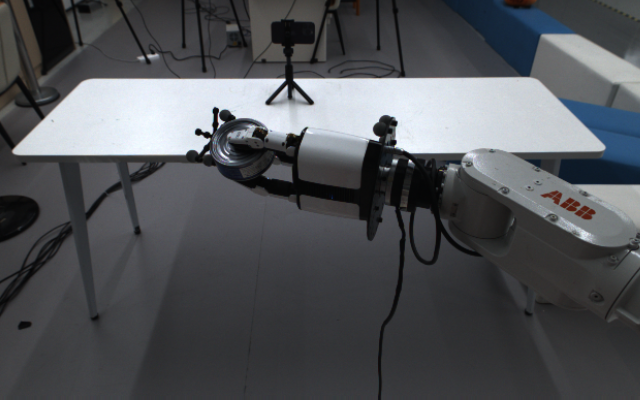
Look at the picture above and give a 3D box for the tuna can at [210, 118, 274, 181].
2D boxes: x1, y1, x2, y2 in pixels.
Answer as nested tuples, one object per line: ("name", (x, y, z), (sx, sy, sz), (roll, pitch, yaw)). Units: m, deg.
("tuna can", (-0.105, -0.071, 0.665), (0.085, 0.034, 0.085), (-3, 59, 6))
